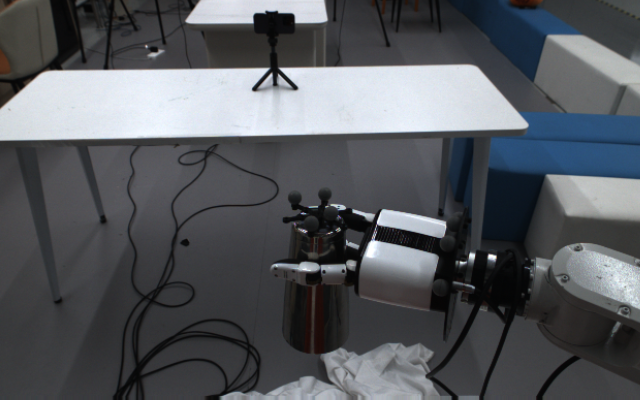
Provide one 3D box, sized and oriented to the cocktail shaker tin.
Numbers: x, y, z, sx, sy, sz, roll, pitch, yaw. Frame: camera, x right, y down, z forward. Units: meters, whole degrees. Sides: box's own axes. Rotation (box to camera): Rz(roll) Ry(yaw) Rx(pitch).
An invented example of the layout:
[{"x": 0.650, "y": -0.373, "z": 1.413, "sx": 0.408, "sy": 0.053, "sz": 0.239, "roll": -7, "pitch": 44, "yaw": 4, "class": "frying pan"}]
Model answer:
[{"x": -0.002, "y": 0.100, "z": 0.628, "sx": 0.093, "sy": 0.170, "sz": 0.093, "roll": 1, "pitch": 26, "yaw": -1, "class": "cocktail shaker tin"}]
